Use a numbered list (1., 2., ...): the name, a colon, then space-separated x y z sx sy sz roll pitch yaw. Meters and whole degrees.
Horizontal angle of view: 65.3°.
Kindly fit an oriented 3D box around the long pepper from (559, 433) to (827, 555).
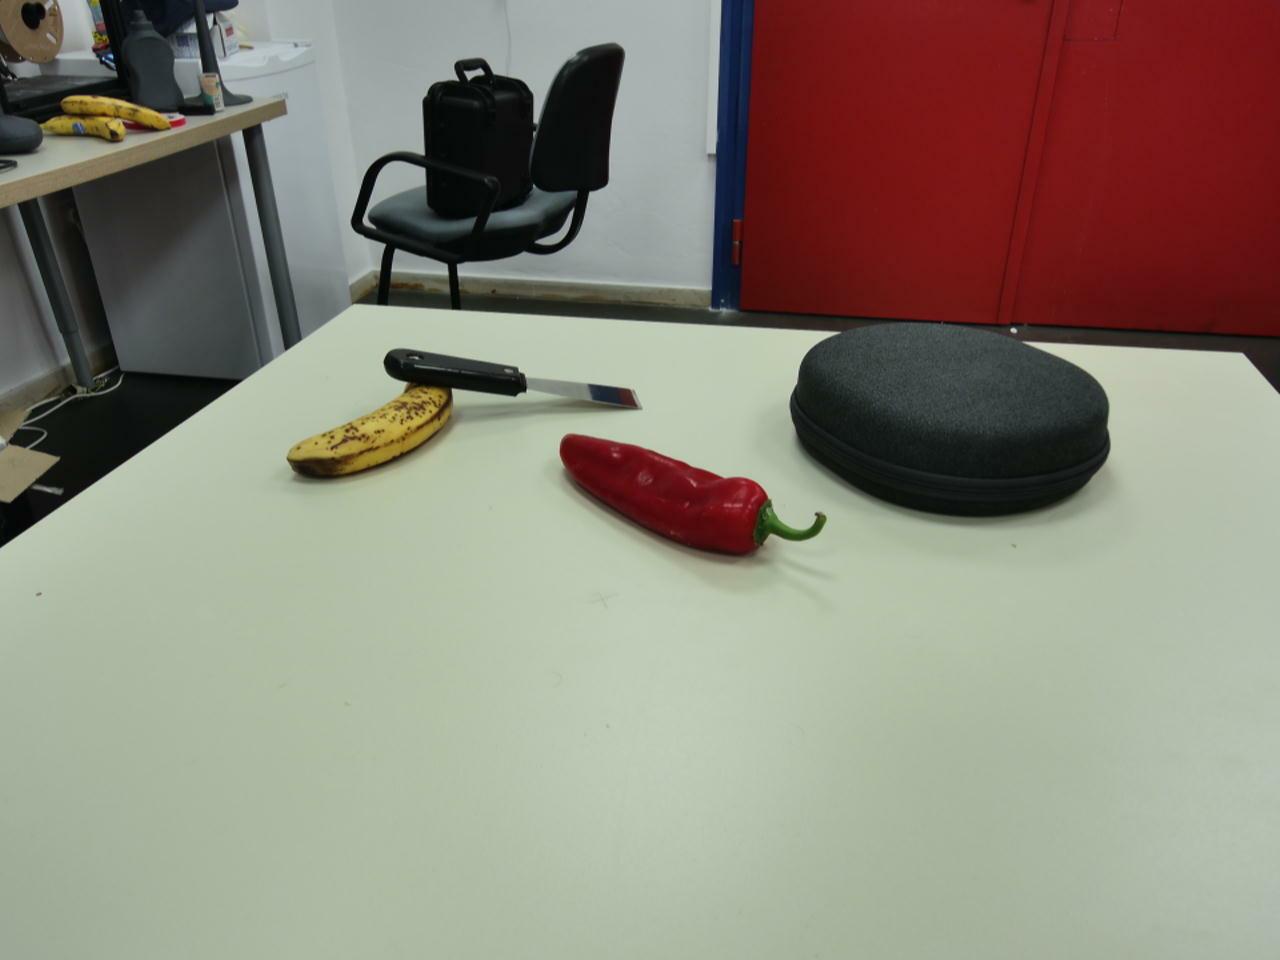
1. long pepper: 0.018 0.006 0.607 0.211 0.043 0.050 22 34 39
